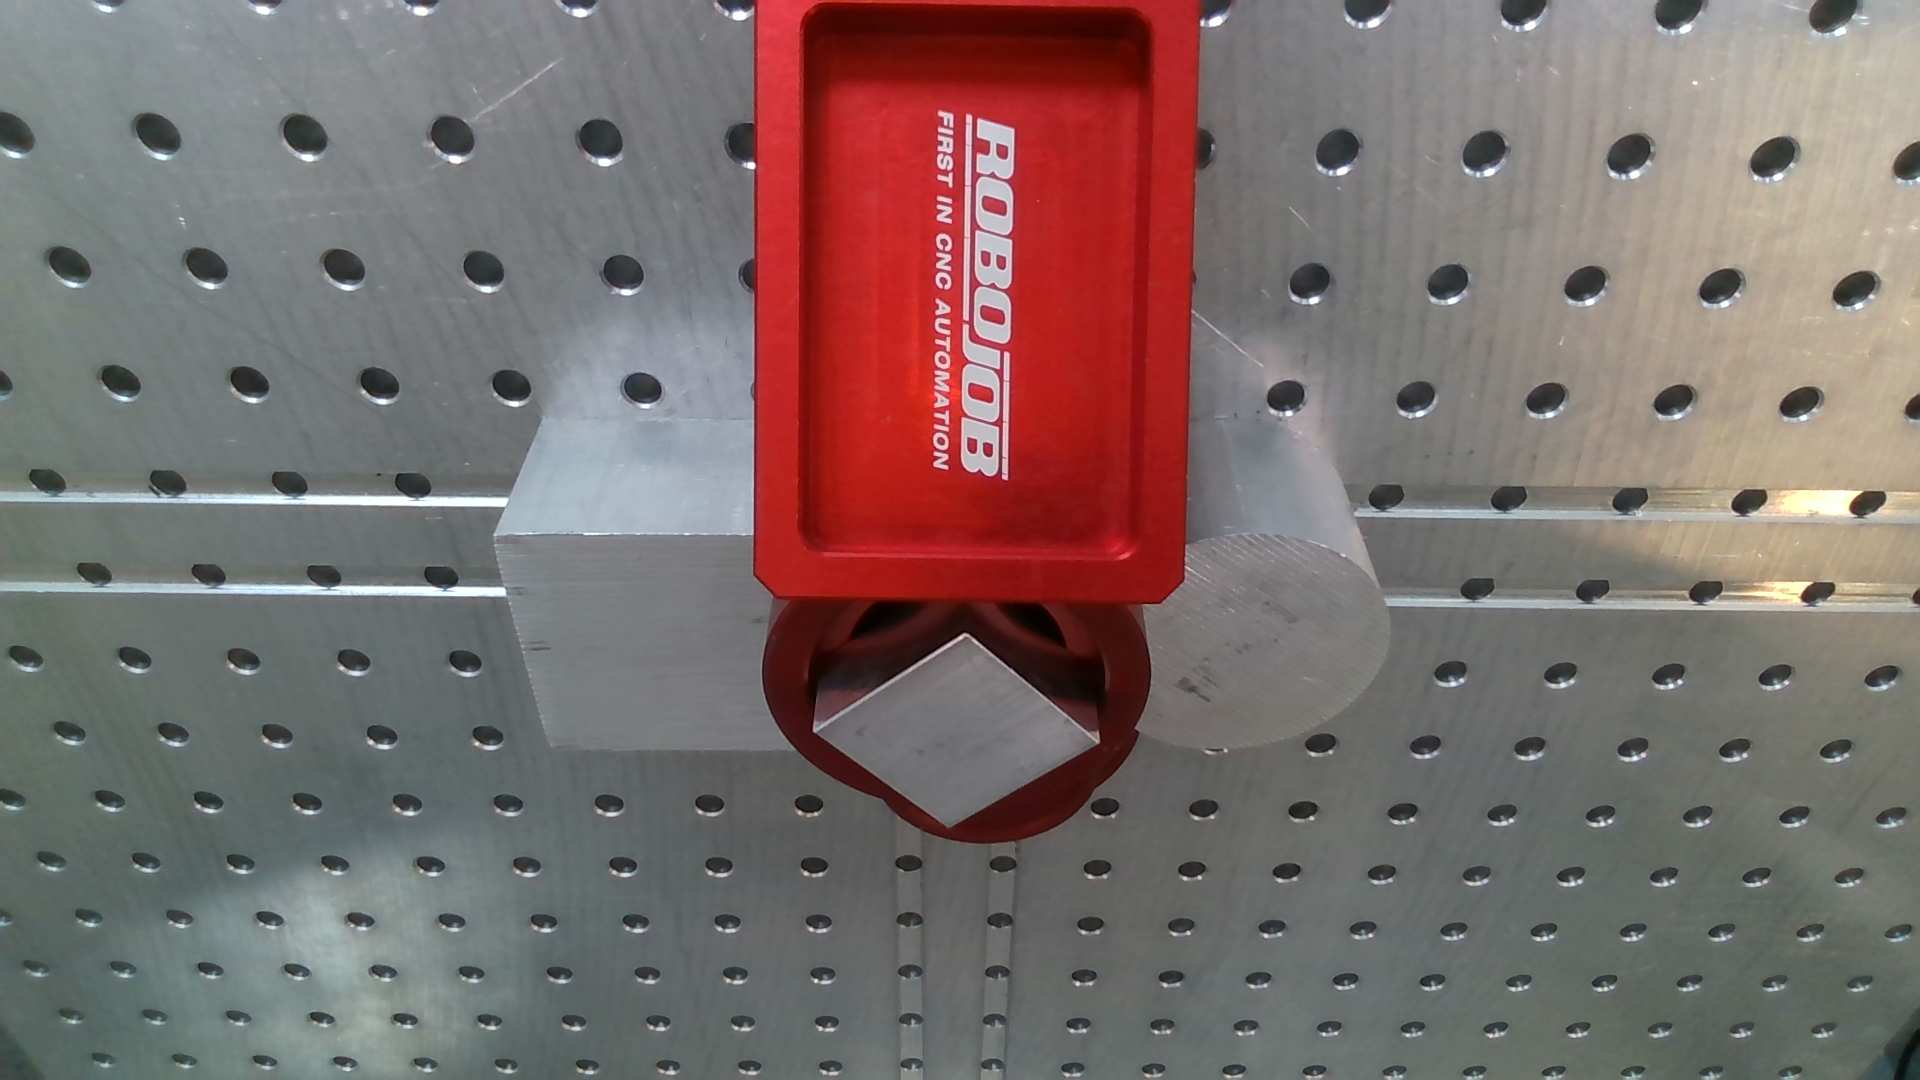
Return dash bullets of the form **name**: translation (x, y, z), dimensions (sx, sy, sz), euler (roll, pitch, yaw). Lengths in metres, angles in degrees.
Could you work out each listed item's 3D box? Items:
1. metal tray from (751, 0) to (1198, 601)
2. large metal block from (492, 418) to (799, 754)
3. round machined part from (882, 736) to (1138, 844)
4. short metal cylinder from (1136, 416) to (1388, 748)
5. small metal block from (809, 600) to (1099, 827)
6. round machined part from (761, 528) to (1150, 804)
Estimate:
- **metal tray**: translation (0.002, -0.053, 0.296), dimensions (0.090, 0.030, 0.130), euler (1, 93, -1)
- **large metal block**: translation (-0.076, 0.014, 0.384), dimensions (0.080, 0.050, 0.080), euler (1, 130, 0)
- **round machined part**: translation (0.008, 0.057, 0.427), dimensions (0.098, 0.042, 0.098), euler (0, 130, 0)
- **short metal cylinder**: translation (0.073, 0.013, 0.386), dimensions (0.080, 0.050, 0.080), euler (0, 130, 0)
- **small metal block**: translation (-0.001, 0.040, 0.345), dimensions (0.050, 0.025, 0.050), euler (-34, 122, 25)
- **round machined part**: translation (-0.001, 0.023, 0.362), dimensions (0.098, 0.042, 0.098), euler (0, 130, 0)
